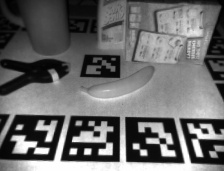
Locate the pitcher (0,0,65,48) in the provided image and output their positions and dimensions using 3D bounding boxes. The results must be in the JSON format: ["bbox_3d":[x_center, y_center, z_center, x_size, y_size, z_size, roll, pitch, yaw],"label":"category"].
[{"bbox_3d":[-0.202,-0.224,0.562,0.190,0.243,0.132,-10,43,-14],"label":"pitcher"}]

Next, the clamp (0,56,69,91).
[{"bbox_3d":[-0.195,-0.042,0.551,0.166,0.037,0.120,-9,42,-13],"label":"clamp"}]

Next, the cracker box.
[{"bbox_3d":[0.138,-0.159,0.567,0.213,0.165,0.072,1,40,3],"label":"cracker box"}]

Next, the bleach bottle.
[{"bbox_3d":[-0.013,-0.233,0.604,0.102,0.252,0.067,0,42,2],"label":"bleach bottle"}]

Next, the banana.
[{"bbox_3d":[0.024,-0.016,0.537,0.199,0.039,0.073,-23,47,-24],"label":"banana"}]
